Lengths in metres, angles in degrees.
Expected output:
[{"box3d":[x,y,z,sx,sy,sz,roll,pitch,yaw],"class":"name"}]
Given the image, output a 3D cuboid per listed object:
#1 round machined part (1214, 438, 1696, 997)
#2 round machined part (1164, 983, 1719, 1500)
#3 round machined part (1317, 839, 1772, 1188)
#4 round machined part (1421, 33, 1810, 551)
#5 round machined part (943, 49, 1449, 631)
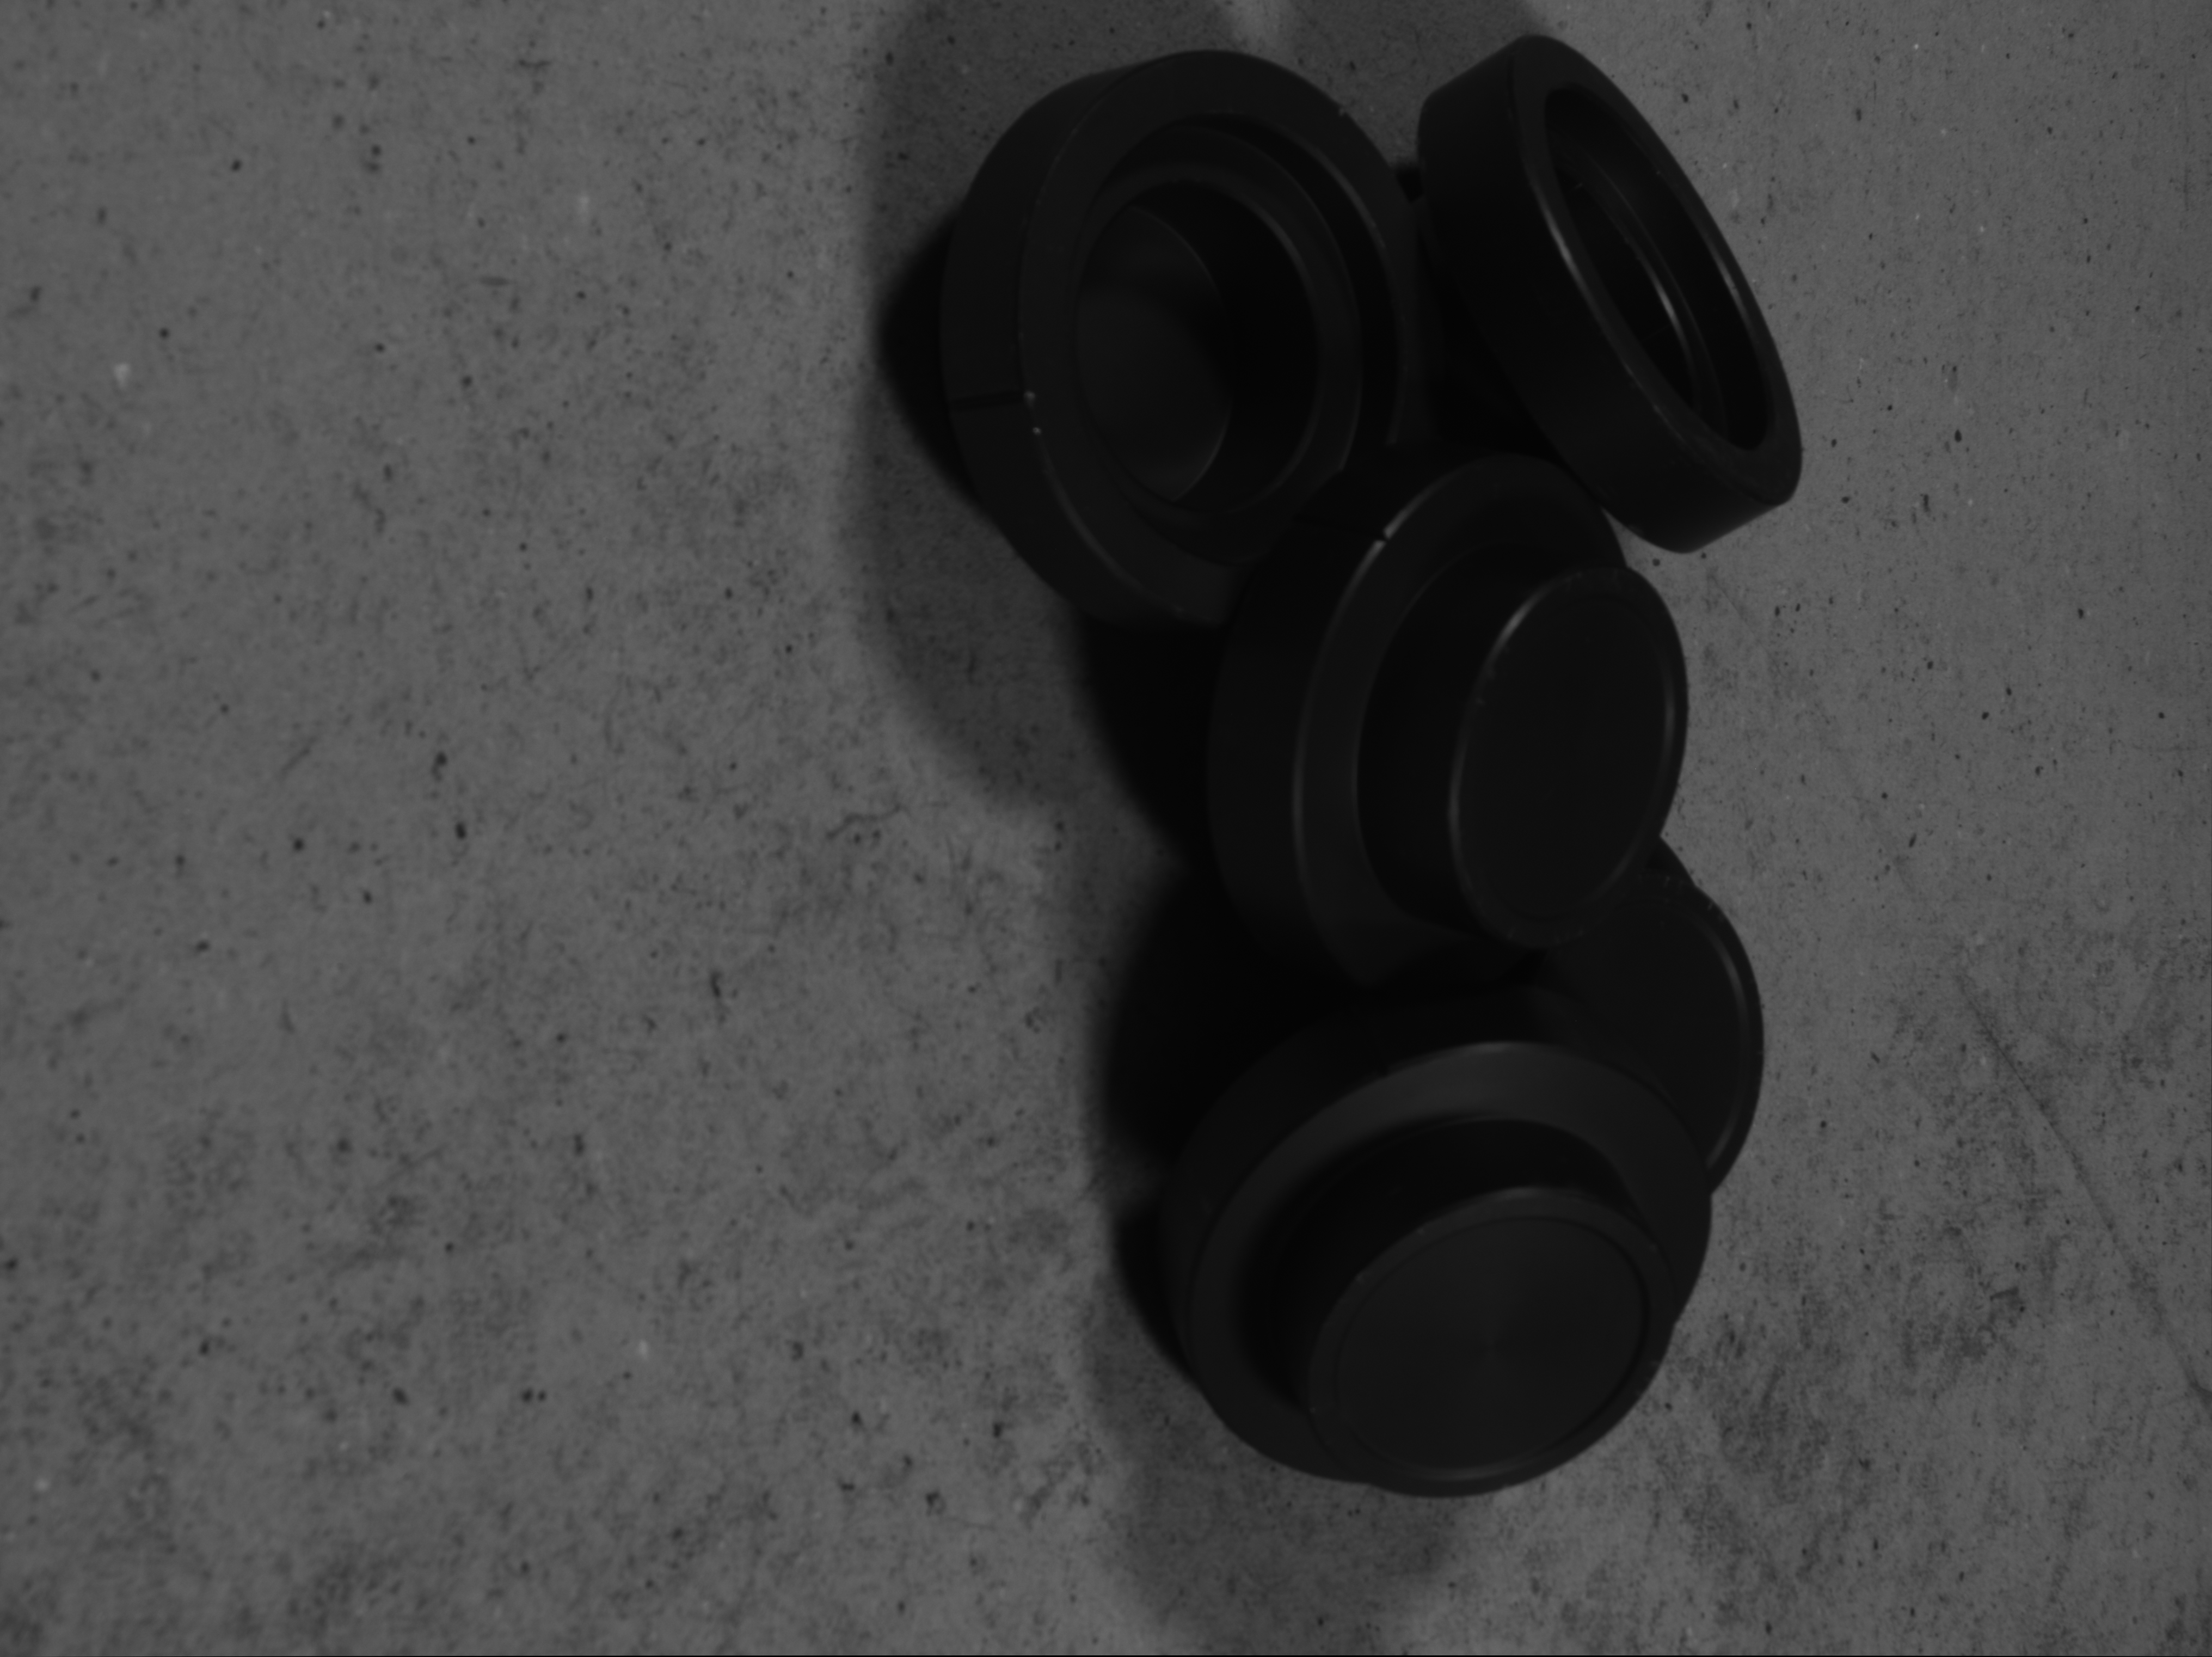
[{"box3d":[0.066,-0.017,0.639,0.098,0.042,0.098,-16,112,-45],"class":"round machined part"},{"box3d":[0.062,0.079,0.646,0.098,0.042,0.098,-8,123,-12],"class":"round machined part"},{"box3d":[0.090,0.042,0.701,0.098,0.042,0.098,0,90,-40],"class":"round machined part"},{"box3d":[0.087,-0.094,0.681,0.098,0.042,0.098,40,35,-35],"class":"round machined part"},{"box3d":[0.011,-0.082,0.635,0.098,0.042,0.098,0,90,-40],"class":"round machined part"}]
